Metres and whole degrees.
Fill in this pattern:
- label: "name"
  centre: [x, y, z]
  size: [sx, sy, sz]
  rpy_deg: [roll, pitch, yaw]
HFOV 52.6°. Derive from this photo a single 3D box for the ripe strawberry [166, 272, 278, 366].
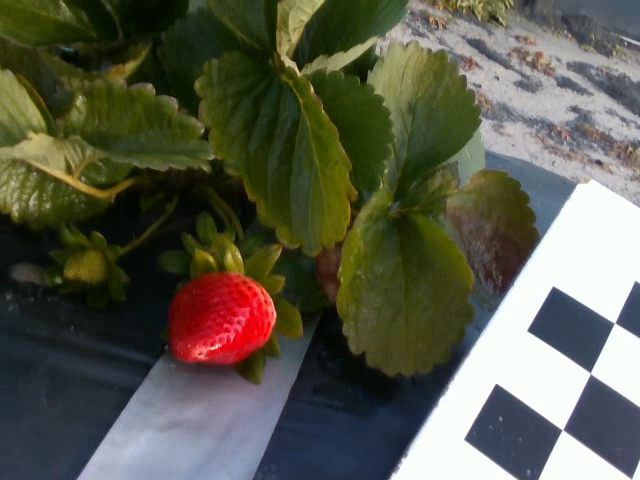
- label: "ripe strawberry"
  centre: [-0.033, 0.027, 0.208]
  size: [0.050, 0.036, 0.055]
  rpy_deg: [33, 38, 6]
